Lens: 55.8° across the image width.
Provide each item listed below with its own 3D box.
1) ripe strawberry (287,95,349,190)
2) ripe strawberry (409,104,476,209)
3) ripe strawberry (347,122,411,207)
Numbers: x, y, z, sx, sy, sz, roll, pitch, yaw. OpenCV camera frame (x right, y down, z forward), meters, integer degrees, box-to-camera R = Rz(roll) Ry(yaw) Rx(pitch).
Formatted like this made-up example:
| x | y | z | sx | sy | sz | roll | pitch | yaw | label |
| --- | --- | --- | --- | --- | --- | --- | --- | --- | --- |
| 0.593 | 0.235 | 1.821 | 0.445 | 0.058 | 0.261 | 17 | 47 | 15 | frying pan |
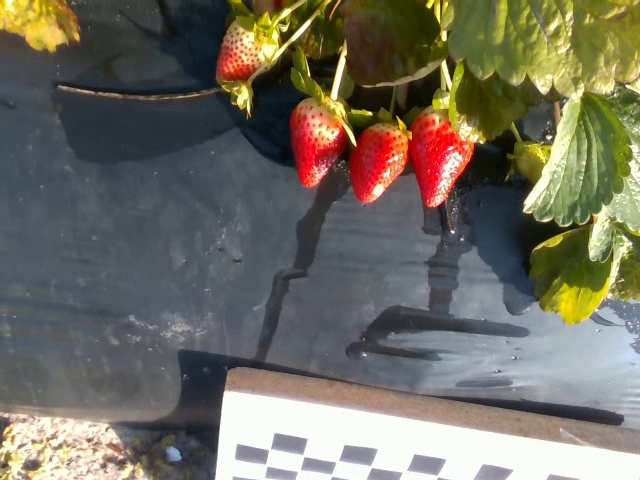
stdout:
| x | y | z | sx | sy | sz | roll | pitch | yaw | label |
| --- | --- | --- | --- | --- | --- | --- | --- | --- | --- |
| -0.002 | -0.044 | 0.281 | 0.031 | 0.046 | 0.023 | 11 | 27 | 0 | ripe strawberry |
| 0.054 | -0.032 | 0.279 | 0.035 | 0.041 | 0.034 | 8 | -9 | 2 | ripe strawberry |
| 0.026 | -0.035 | 0.275 | 0.030 | 0.039 | 0.037 | 19 | -23 | -7 | ripe strawberry |
